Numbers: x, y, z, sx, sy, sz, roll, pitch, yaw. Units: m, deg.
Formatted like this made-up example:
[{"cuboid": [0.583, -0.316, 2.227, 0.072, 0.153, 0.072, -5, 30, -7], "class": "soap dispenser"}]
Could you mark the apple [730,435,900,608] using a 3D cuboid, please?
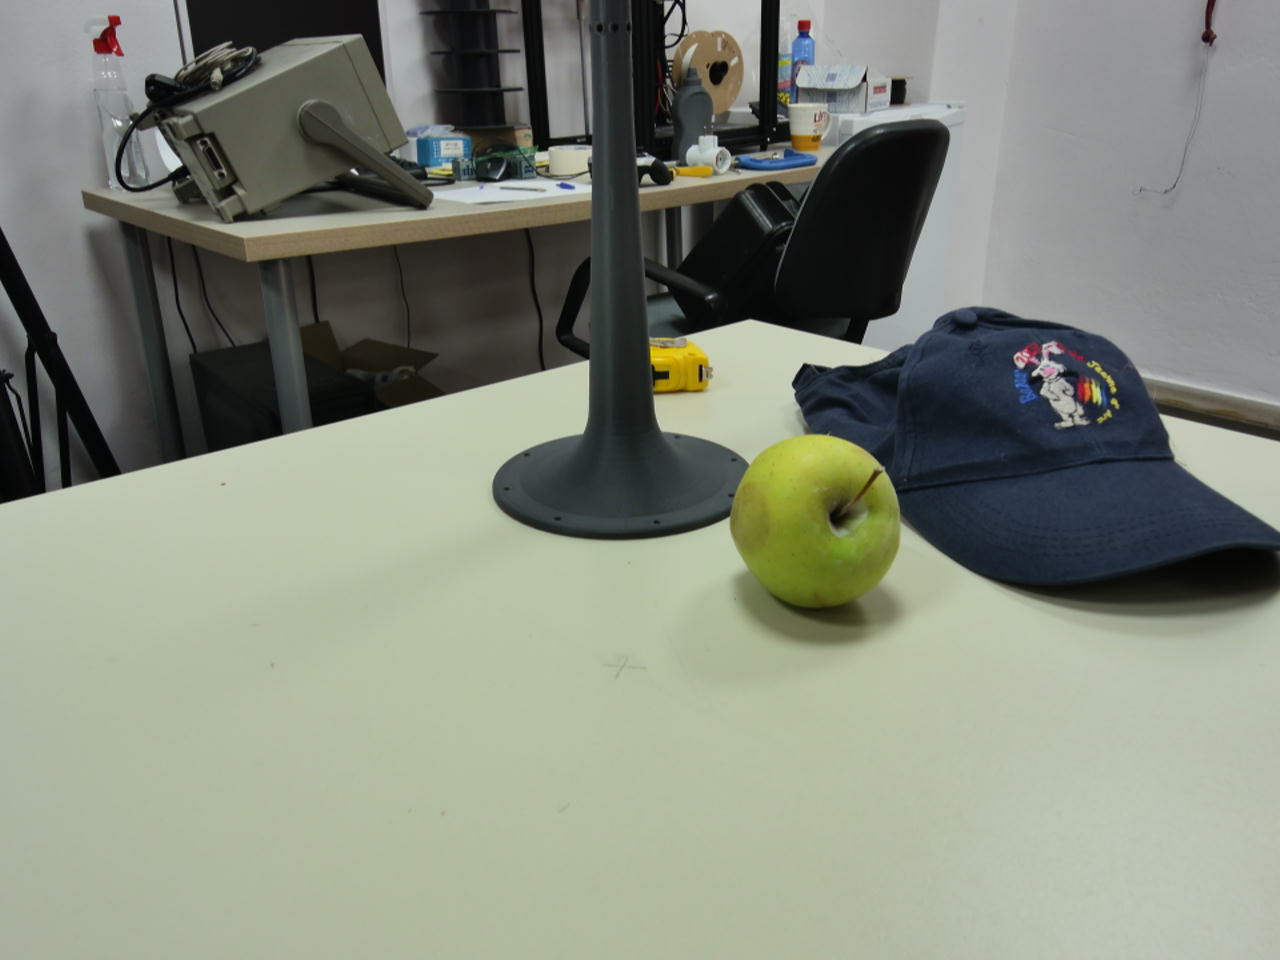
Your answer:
[{"cuboid": [0.076, 0.017, 0.440, 0.072, 0.075, 0.077, 2, 22, 5], "class": "apple"}]
